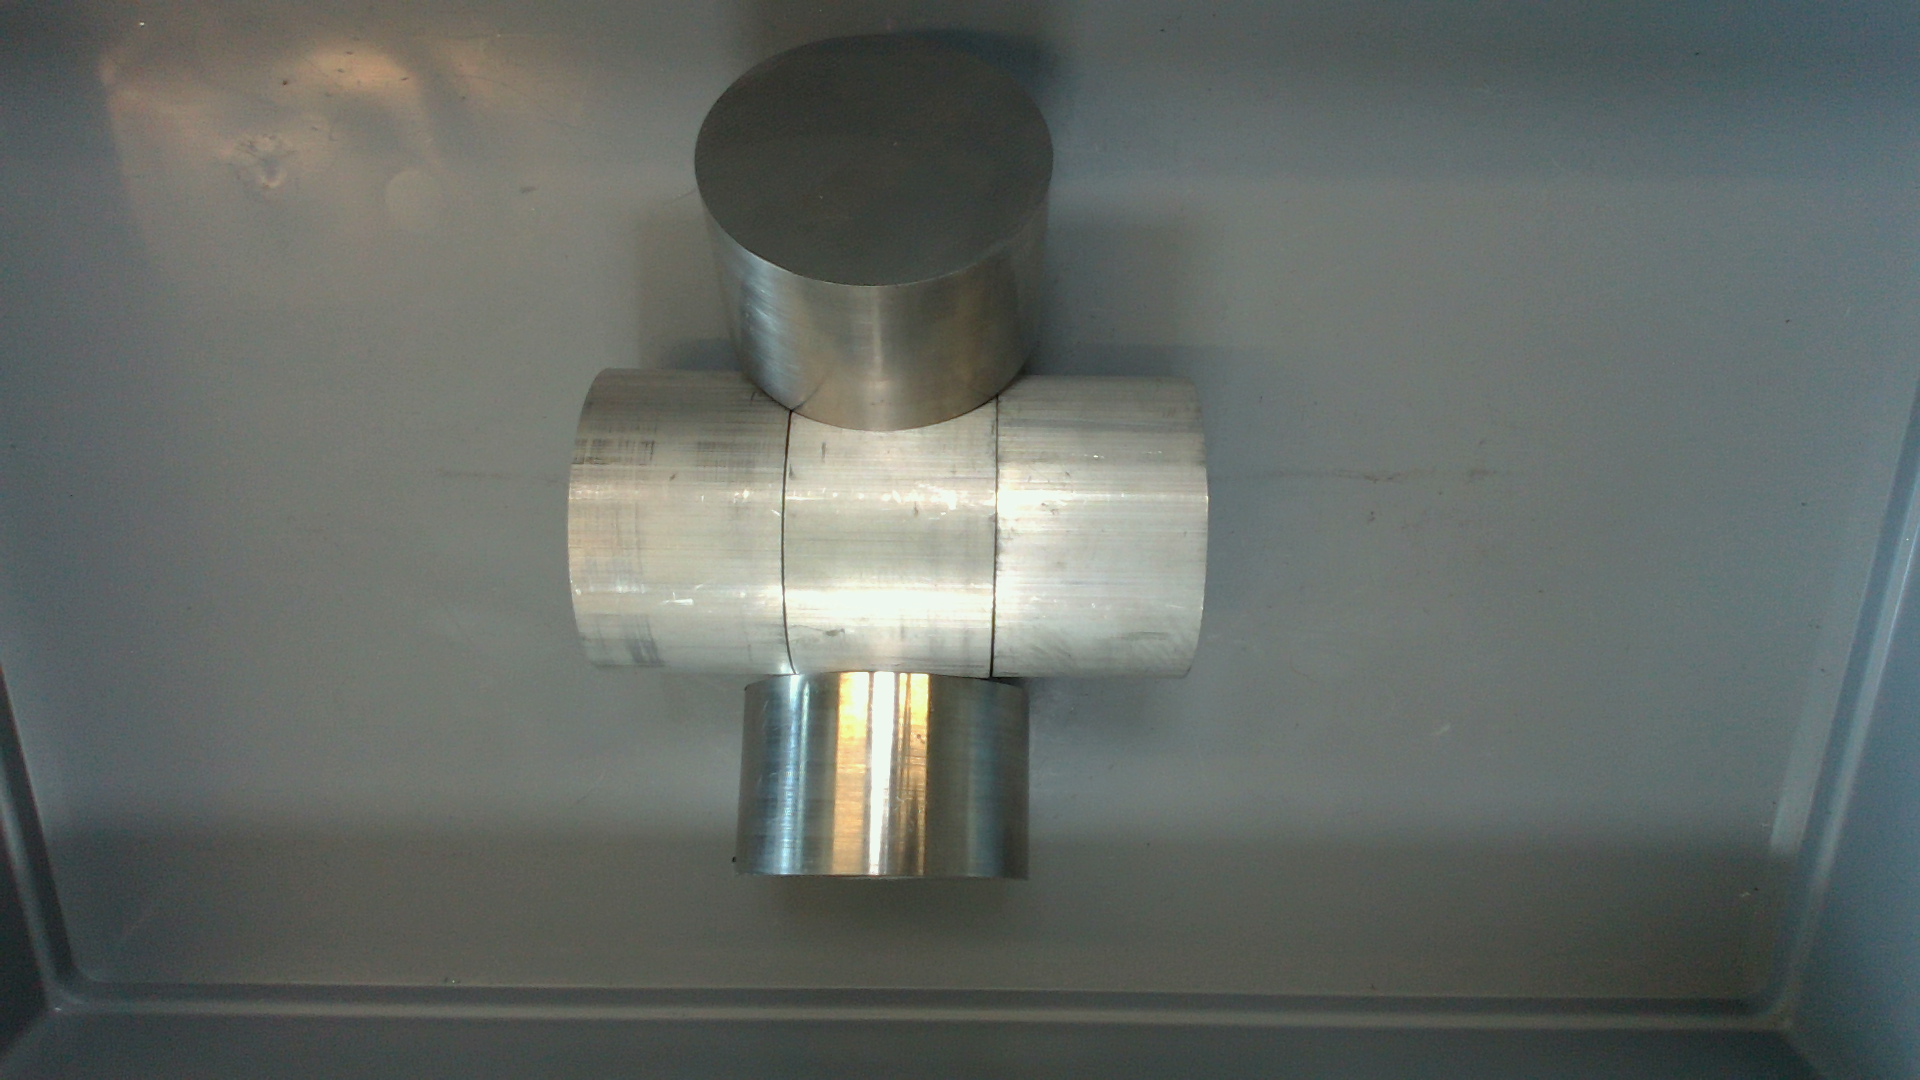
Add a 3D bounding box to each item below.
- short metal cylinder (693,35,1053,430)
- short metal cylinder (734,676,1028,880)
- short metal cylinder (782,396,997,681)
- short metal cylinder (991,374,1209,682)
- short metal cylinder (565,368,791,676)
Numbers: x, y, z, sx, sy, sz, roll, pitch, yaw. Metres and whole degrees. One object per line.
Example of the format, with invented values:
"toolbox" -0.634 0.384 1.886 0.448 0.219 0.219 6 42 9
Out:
"short metal cylinder" -0.020 -0.073 0.328 0.080 0.080 0.050 2 148 -1
"short metal cylinder" -0.021 0.068 0.381 0.080 0.080 0.050 0 76 0
"short metal cylinder" -0.016 -0.004 0.362 0.050 0.080 0.080 1 110 0
"short metal cylinder" 0.034 -0.003 0.362 0.050 0.080 0.080 1 110 0
"short metal cylinder" -0.067 -0.004 0.362 0.050 0.080 0.080 1 110 0
